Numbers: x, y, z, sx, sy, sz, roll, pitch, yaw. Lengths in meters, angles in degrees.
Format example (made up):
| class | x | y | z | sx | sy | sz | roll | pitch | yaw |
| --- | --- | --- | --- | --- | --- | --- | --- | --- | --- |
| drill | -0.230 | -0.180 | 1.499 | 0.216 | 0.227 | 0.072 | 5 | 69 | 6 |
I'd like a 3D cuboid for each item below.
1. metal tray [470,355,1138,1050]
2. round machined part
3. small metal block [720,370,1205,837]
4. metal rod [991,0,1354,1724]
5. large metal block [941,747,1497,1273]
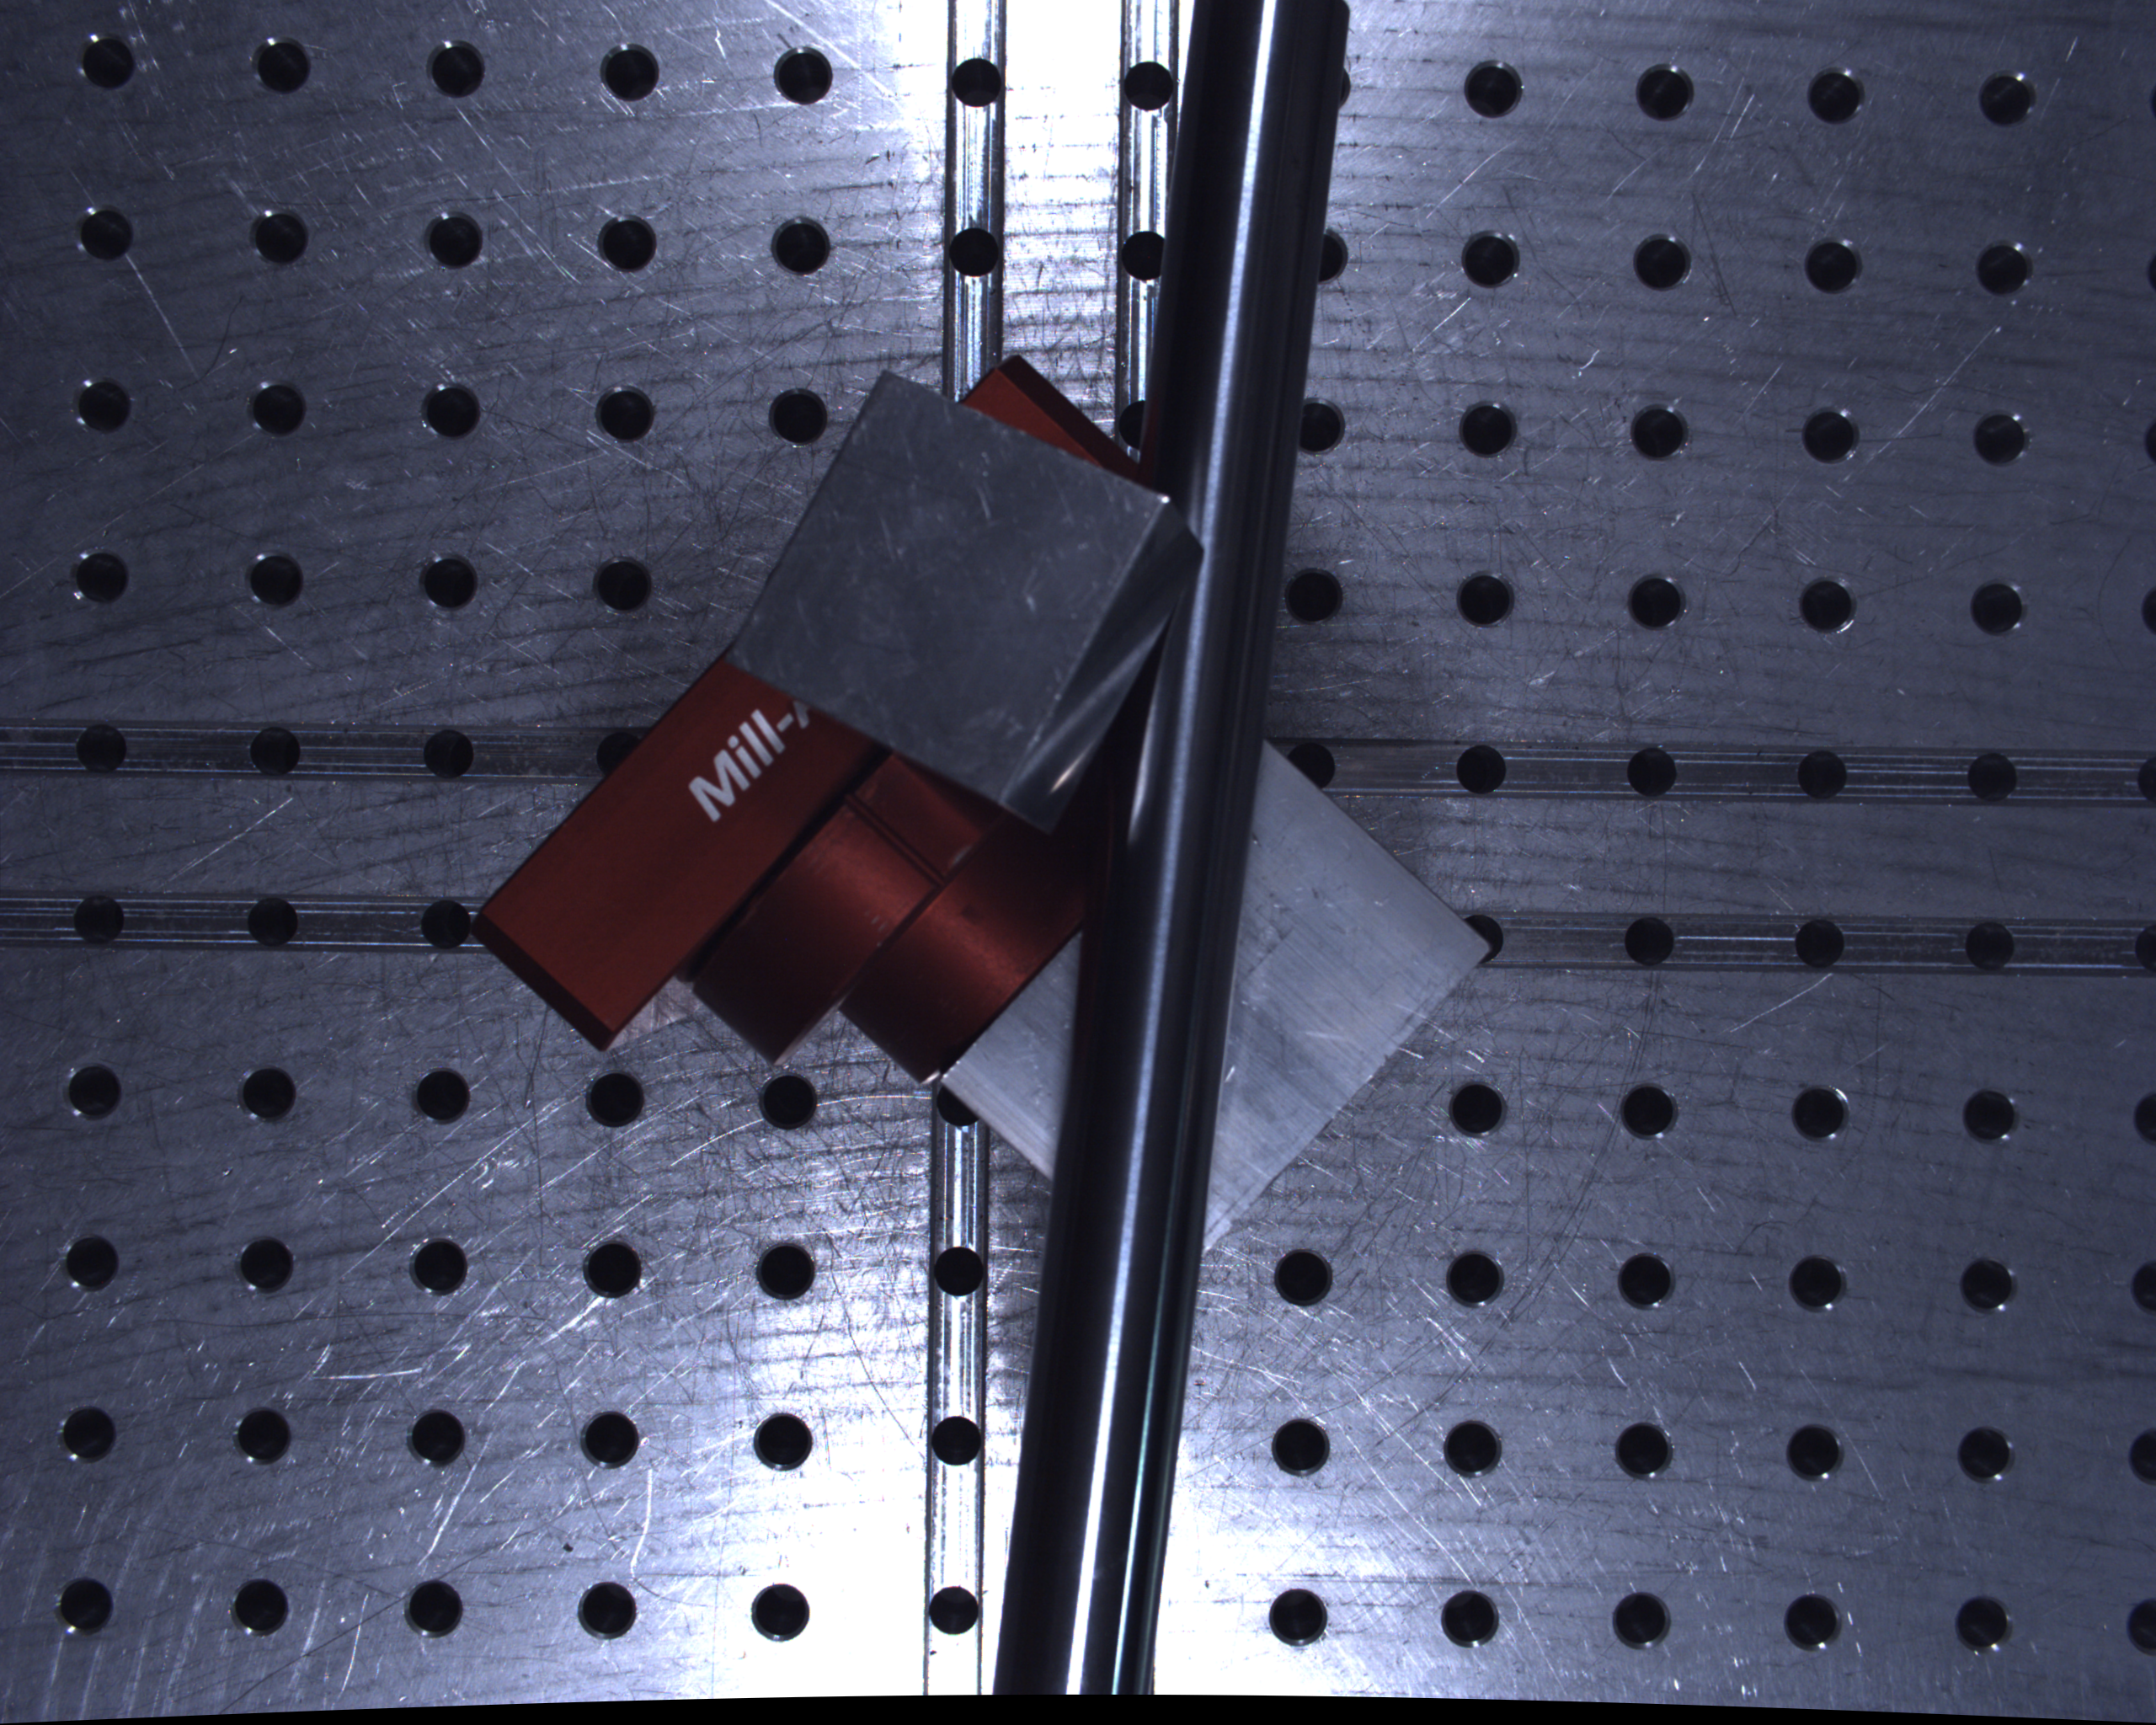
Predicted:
| class | x | y | z | sx | sy | sz | roll | pitch | yaw |
| --- | --- | --- | --- | --- | --- | --- | --- | --- | --- |
| metal tray | -0.044 | -0.026 | 0.380 | 0.030 | 0.090 | 0.130 | 43 | 90 | 0 |
| round machined part | -0.022 | -0.001 | 0.380 | 0.042 | 0.098 | 0.098 | 42 | 90 | 0 |
| small metal block | -0.017 | -0.039 | 0.315 | 0.050 | 0.025 | 0.050 | 28 | 88 | 18 |
| metal rod | 0.014 | 0.011 | 0.333 | 0.025 | 0.025 | 0.298 | 7 | 90 | -1 |
| large metal block | 0.023 | 0.027 | 0.383 | 0.050 | 0.080 | 0.080 | 43 | 90 | -1 |
